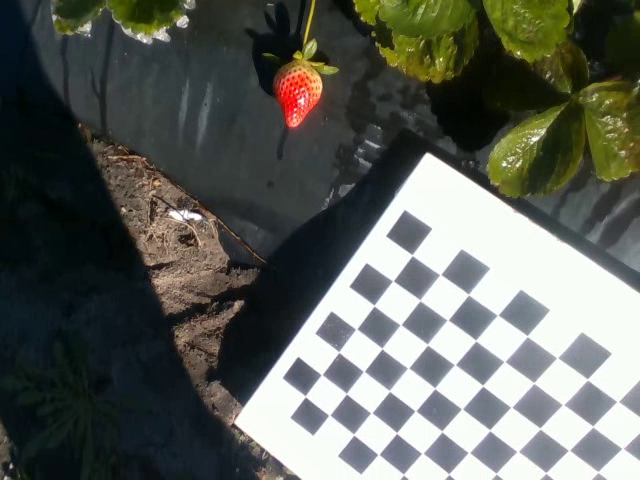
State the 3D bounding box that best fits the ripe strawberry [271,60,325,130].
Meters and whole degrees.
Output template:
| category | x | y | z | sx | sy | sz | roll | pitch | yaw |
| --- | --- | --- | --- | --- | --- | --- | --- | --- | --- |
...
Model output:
| category | x | y | z | sx | sy | sz | roll | pitch | yaw |
| --- | --- | --- | --- | --- | --- | --- | --- | --- | --- |
| ripe strawberry | -0.015 | -0.102 | 0.413 | 0.039 | 0.053 | 0.040 | 14 | -2 | 14 |
